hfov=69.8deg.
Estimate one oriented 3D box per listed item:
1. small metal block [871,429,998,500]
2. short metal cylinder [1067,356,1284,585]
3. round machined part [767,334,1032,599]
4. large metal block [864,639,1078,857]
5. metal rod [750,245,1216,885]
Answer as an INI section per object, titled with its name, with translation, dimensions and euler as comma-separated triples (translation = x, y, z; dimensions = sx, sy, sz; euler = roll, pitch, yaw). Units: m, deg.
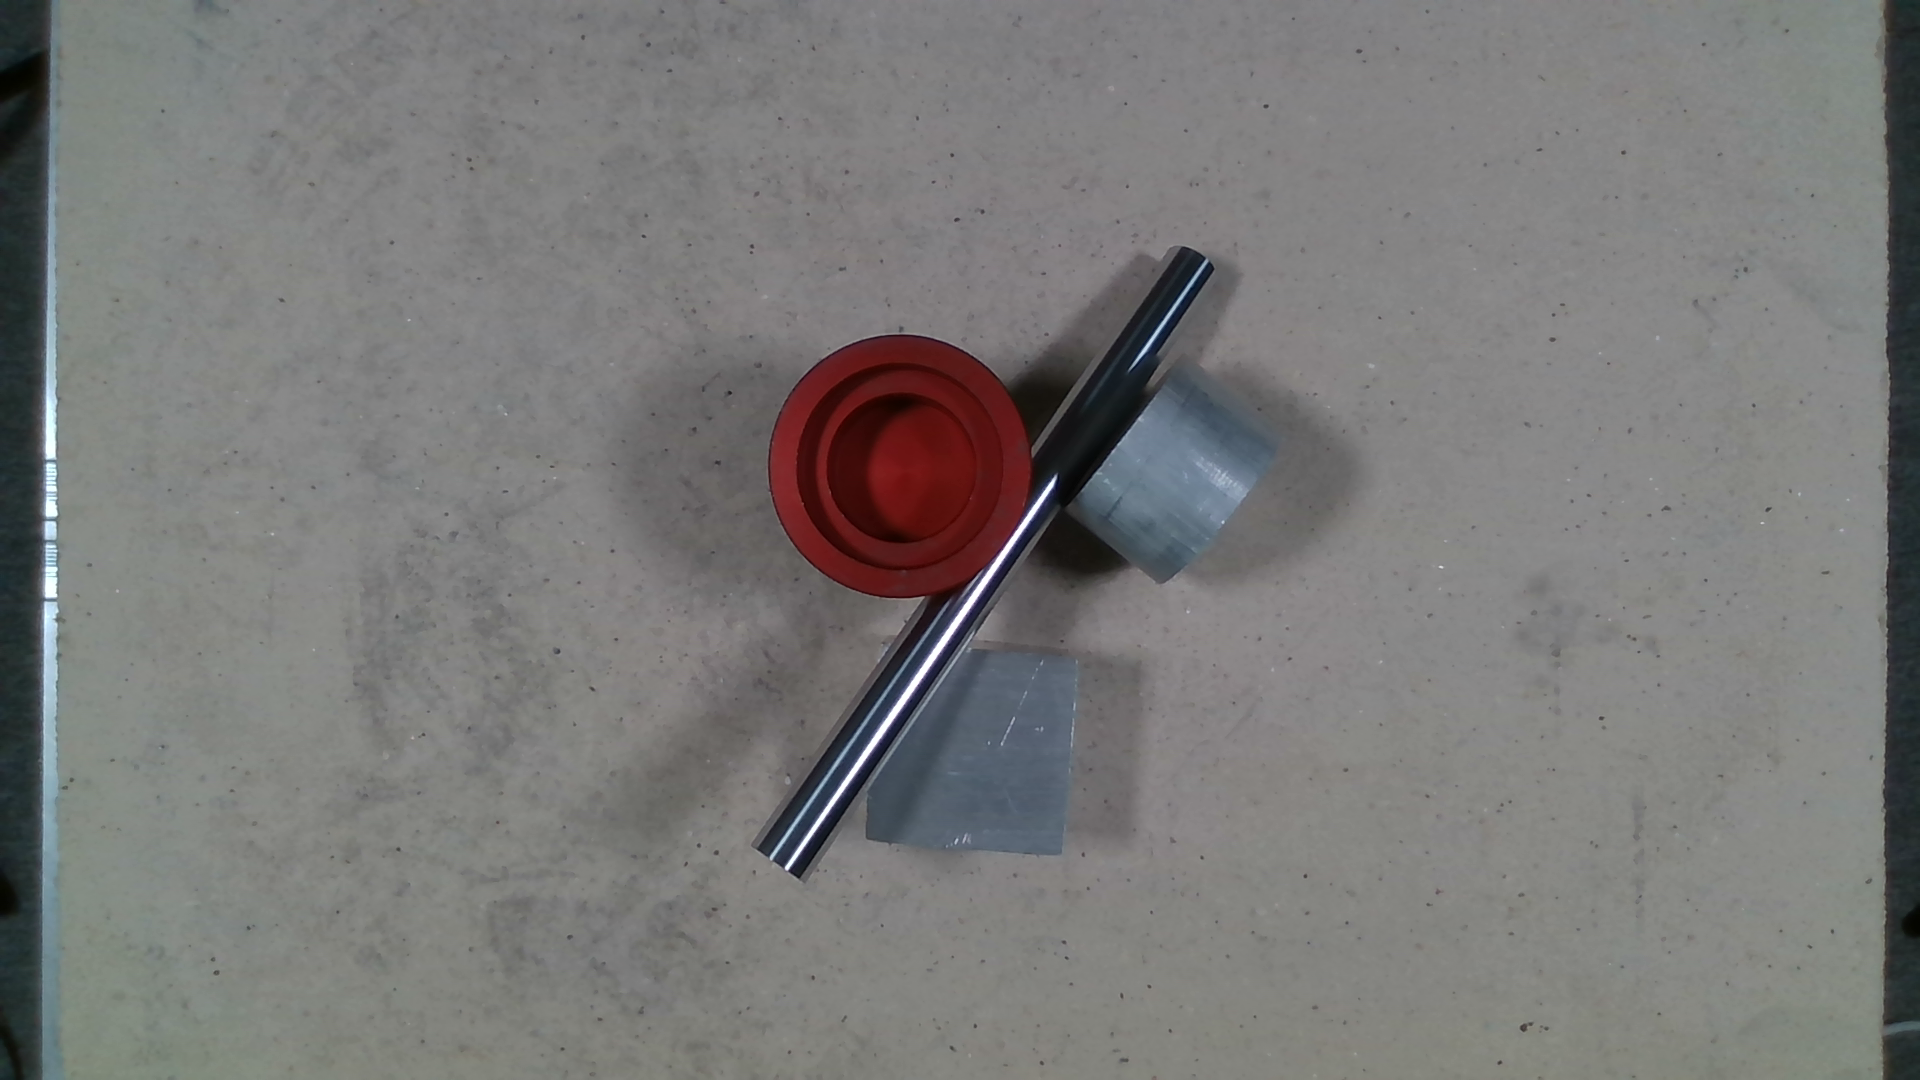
[small metal block]
translation = -0.010, -0.031, 0.575
dimensions = 0.050, 0.050, 0.025
euler = -2, 90, 0
[short metal cylinder]
translation = 0.086, -0.029, 0.559
dimensions = 0.050, 0.080, 0.080
euler = 37, 90, 0
[round machined part]
translation = -0.022, -0.027, 0.529
dimensions = 0.098, 0.042, 0.098
euler = 0, 90, 1
[large metal block]
translation = 0.004, 0.084, 0.576
dimensions = 0.080, 0.050, 0.080
euler = 4, 90, 0
[metal rod]
translation = 0.015, 0.003, 0.550
dimensions = 0.025, 0.025, 0.300
euler = 35, 76, 0
